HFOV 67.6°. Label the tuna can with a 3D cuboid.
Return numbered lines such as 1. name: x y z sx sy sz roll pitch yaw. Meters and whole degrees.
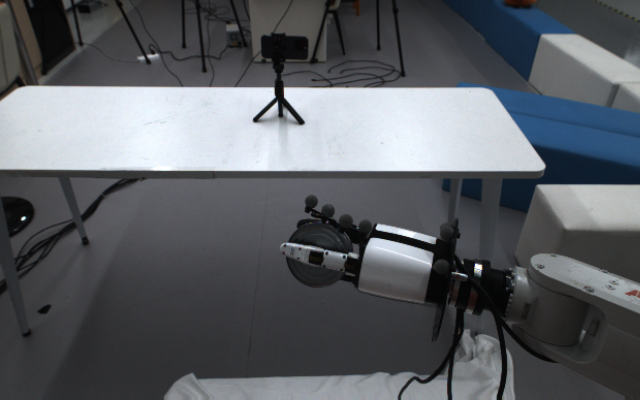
1. tuna can: 0.003 0.070 0.641 0.085 0.085 0.034 14 2 16
